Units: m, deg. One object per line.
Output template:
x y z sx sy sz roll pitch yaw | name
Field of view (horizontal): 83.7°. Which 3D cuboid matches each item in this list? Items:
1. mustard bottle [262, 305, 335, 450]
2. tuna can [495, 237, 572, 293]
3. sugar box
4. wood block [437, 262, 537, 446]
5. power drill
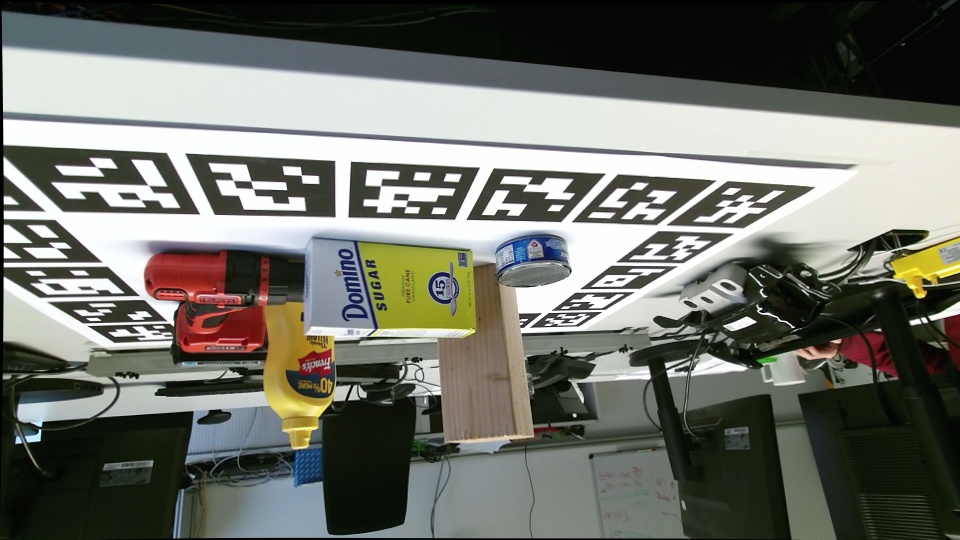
-0.218 0.120 0.651 0.058 0.190 0.096 -18 154 21 | mustard bottle
0.061 -0.004 0.617 0.086 0.033 0.086 -6 156 -3 | tuna can
-0.099 0.023 0.571 0.177 0.092 0.045 6 157 -25 | sugar box
0.004 0.107 0.673 0.091 0.205 0.090 -13 155 11 | wood block
-0.259 0.046 0.616 0.185 0.057 0.187 5 147 -27 | power drill
